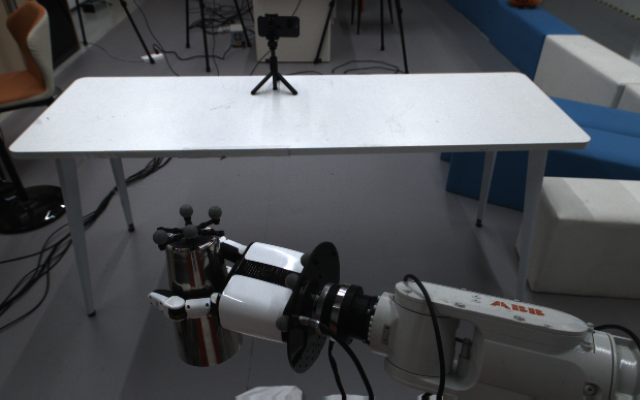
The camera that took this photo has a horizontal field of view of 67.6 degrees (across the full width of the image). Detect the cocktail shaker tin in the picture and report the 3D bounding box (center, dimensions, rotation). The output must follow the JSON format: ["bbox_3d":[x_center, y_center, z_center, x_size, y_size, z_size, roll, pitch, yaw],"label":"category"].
[{"bbox_3d":[-0.155,0.124,0.642,0.093,0.170,0.093,-2,26,1],"label":"cocktail shaker tin"}]
